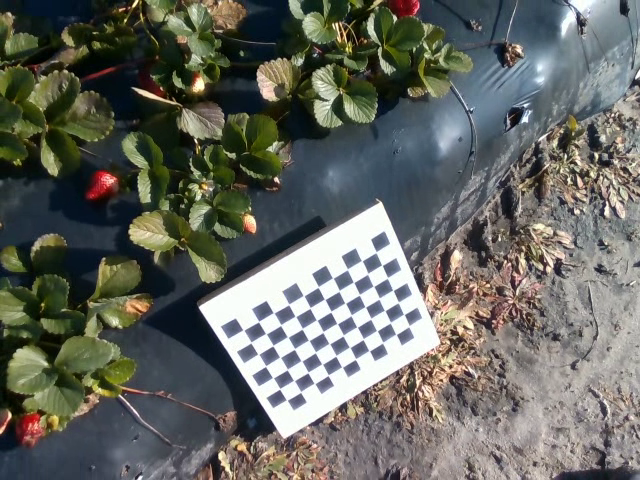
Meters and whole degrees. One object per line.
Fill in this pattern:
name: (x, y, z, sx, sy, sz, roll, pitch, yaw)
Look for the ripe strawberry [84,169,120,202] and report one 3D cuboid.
ripe strawberry: (-0.276, -0.068, 0.798, 0.056, 0.042, 0.044, -46, 33, -22)
